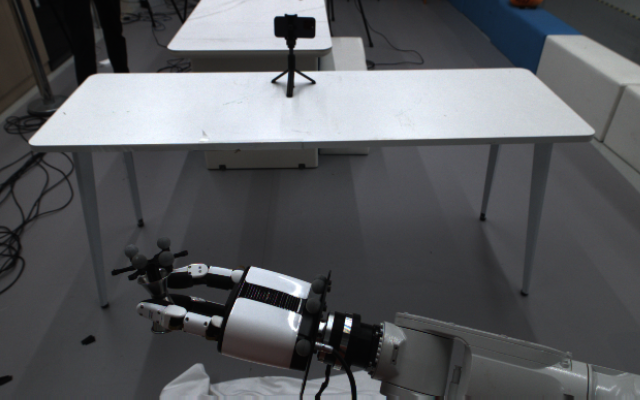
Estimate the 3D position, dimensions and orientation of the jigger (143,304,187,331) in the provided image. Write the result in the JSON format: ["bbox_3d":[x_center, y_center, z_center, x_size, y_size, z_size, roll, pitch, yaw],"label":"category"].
[{"bbox_3d":[-0.194,0.123,0.602,0.043,0.071,0.043,-11,16,3],"label":"jigger"}]
